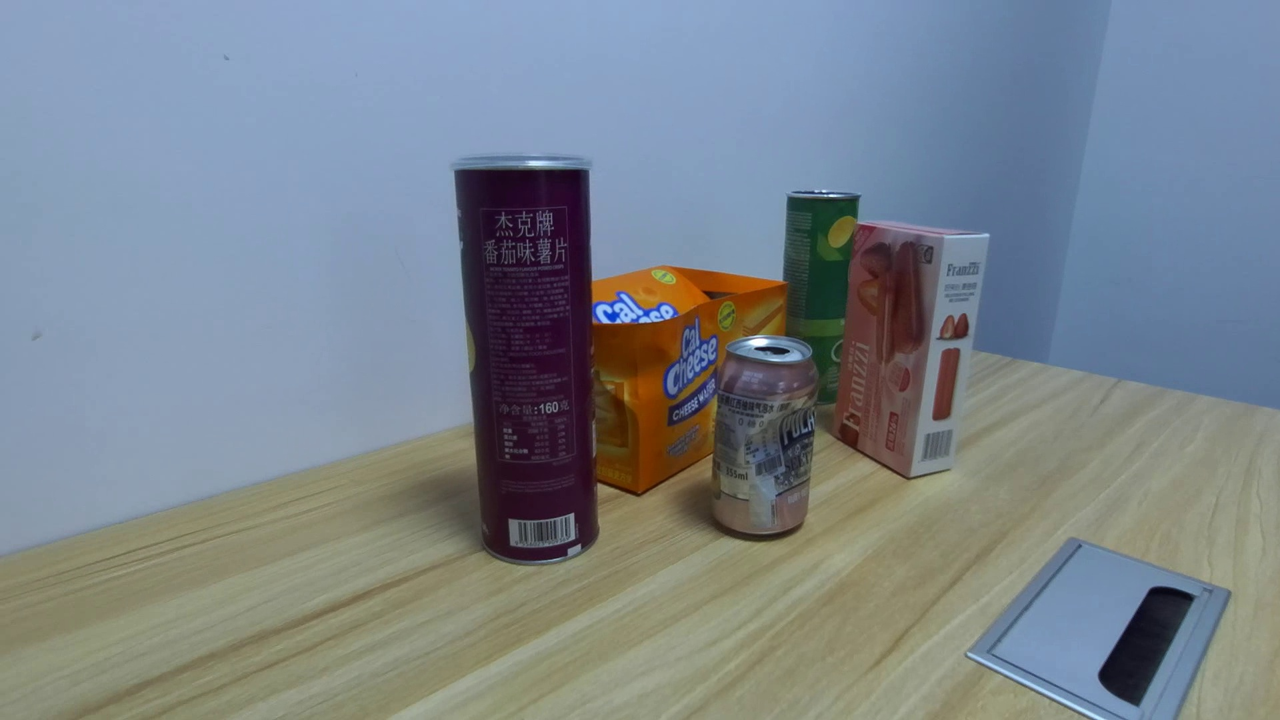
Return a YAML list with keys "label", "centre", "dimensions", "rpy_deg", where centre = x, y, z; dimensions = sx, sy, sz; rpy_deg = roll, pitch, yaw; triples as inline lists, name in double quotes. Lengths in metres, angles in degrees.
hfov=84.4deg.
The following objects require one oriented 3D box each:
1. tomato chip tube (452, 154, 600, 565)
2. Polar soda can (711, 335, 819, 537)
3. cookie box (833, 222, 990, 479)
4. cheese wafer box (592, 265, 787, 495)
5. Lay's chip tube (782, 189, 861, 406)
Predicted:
- label: "tomato chip tube"
  centre: [-0.065, 0.002, 0.429]
  dimensions: [0.078, 0.234, 0.078]
  rpy_deg: [0, 16, 0]
- label: "Polar soda can"
  centre: [0.083, 0.050, 0.463]
  dimensions: [0.074, 0.122, 0.067]
  rpy_deg: [-3, 17, -8]
- label: "cookie box"
  centre: [0.208, -0.012, 0.558]
  dimensions: [0.048, 0.184, 0.096]
  rpy_deg: [-5, 17, -23]
- label: "cheese wafer box"
  centre: [0.012, 0.005, 0.608]
  dimensions: [0.151, 0.132, 0.231]
  rpy_deg: [14, 21, 36]
- label: "Lay's chip tube"
  centre: [0.173, -0.060, 0.688]
  dimensions: [0.071, 0.202, 0.071]
  rpy_deg: [1, 14, 0]
